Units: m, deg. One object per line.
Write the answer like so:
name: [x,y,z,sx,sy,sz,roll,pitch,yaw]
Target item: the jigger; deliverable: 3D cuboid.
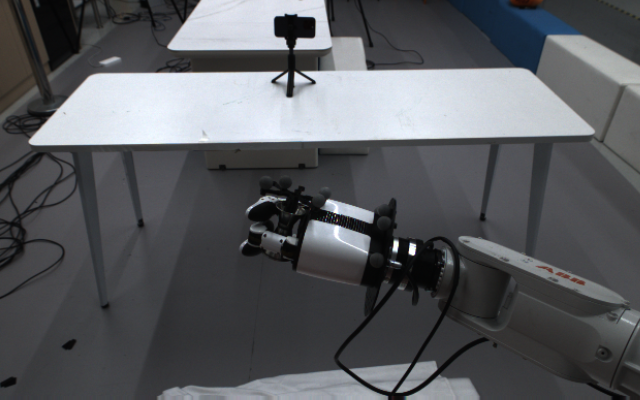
jigger: [-0.044,0.041,0.639,0.043,0.071,0.043,15,17,-5]
